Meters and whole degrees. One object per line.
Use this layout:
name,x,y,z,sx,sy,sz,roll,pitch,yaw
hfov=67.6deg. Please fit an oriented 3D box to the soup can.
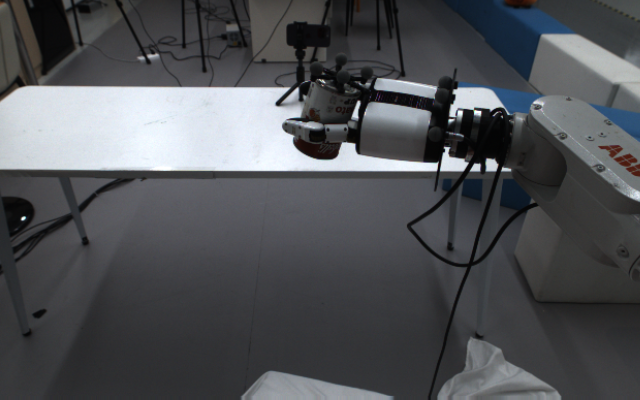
soup can,0.009,-0.115,0.653,0.067,0.101,0.067,14,35,-10
